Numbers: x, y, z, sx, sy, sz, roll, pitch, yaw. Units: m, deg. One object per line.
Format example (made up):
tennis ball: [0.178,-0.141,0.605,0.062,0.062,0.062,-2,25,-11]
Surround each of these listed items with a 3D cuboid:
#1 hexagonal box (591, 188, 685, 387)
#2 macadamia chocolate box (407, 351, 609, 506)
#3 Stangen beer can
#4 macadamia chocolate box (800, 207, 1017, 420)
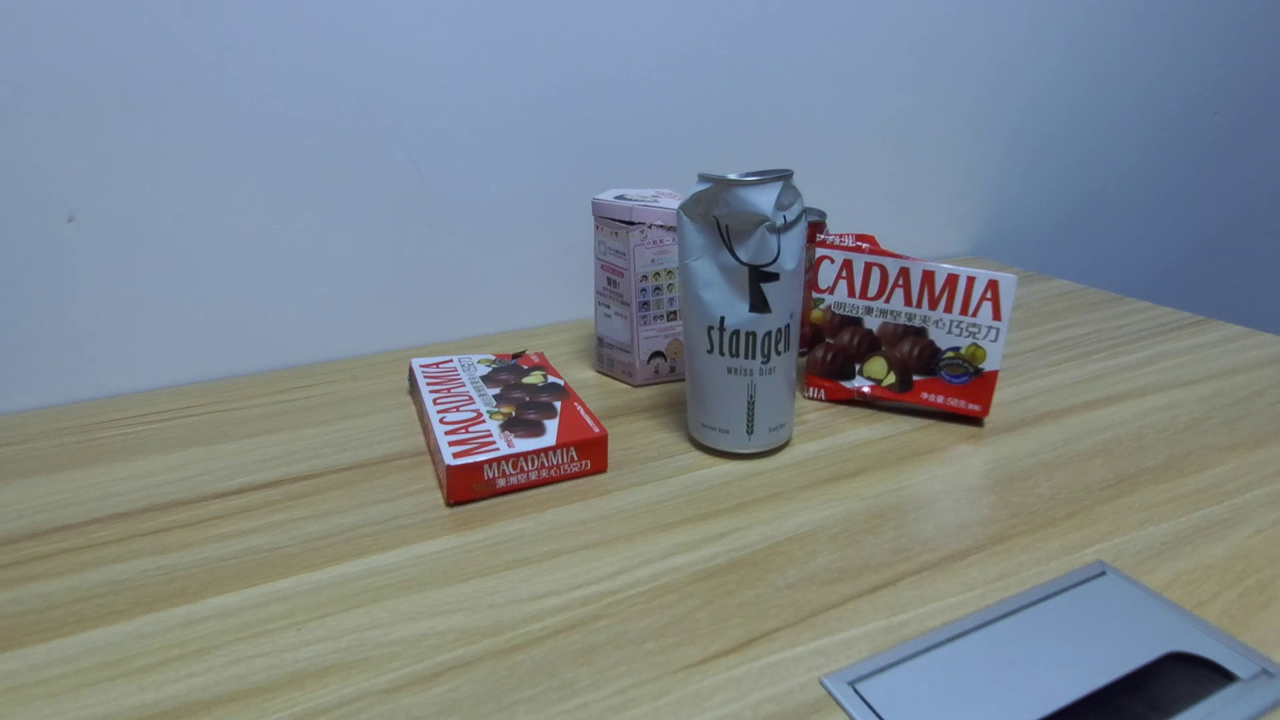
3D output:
hexagonal box: [0.007,-0.056,0.533,0.085,0.135,0.091,-19,28,-37]
macadamia chocolate box: [-0.095,0.031,0.478,0.103,0.027,0.186,-9,24,-22]
Stangen beer can: [0.061,-0.026,0.420,0.065,0.166,0.066,12,24,33]
macadamia chocolate box: [0.178,-0.024,0.477,0.126,0.112,0.056,10,24,23]
